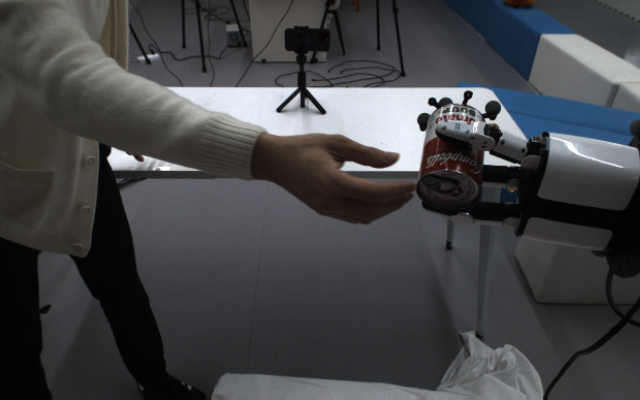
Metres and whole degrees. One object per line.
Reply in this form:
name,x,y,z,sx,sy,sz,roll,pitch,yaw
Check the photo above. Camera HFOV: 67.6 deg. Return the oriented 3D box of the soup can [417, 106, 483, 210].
soup can,0.148,-0.054,0.534,0.067,0.067,0.101,9,55,10
